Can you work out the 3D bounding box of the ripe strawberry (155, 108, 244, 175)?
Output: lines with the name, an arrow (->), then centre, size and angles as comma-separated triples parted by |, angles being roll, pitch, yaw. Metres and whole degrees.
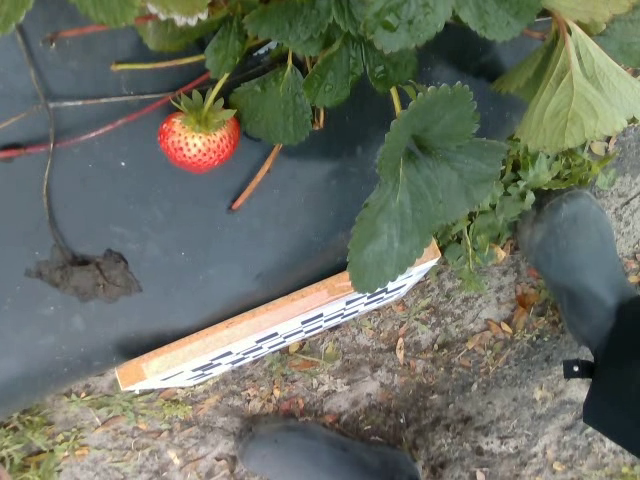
ripe strawberry -> -0.086, -0.064, 0.428 | 0.061, 0.050, 0.065 | -22, -18, -15
